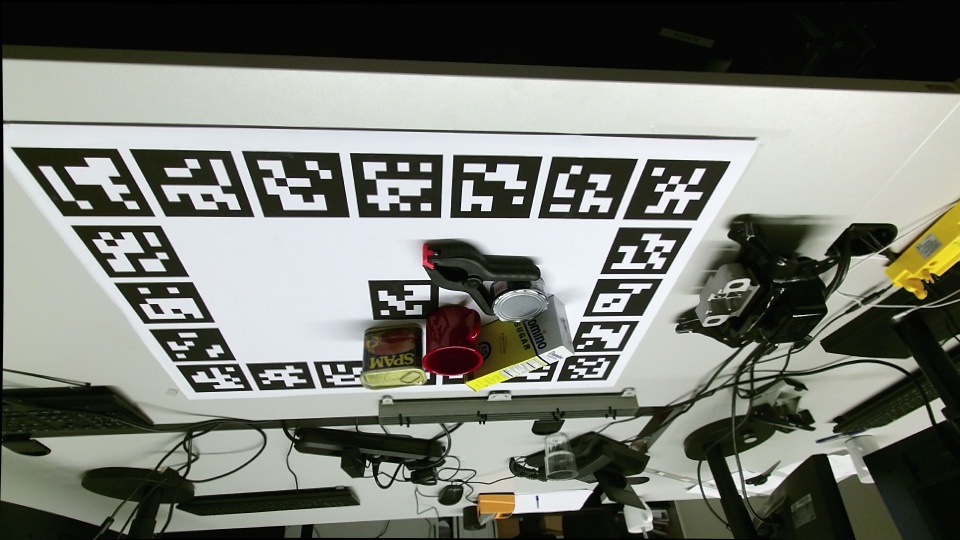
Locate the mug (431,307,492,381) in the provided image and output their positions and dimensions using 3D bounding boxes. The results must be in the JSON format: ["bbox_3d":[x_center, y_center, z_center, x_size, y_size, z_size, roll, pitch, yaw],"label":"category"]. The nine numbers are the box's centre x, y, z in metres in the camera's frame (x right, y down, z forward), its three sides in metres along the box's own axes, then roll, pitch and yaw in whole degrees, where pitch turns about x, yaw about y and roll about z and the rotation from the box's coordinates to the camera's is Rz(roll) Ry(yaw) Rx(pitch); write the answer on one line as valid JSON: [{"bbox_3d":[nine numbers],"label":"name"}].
[{"bbox_3d":[-0.025,0.103,0.809,0.094,0.081,0.117,18,132,-24],"label":"mug"}]

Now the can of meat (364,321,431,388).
[{"bbox_3d":[-0.129,0.132,0.842,0.102,0.083,0.058,-5,140,2],"label":"can of meat"}]

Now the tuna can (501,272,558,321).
[{"bbox_3d":[0.074,0.035,0.782,0.086,0.033,0.086,-3,137,-3],"label":"tuna can"}]

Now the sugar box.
[{"bbox_3d":[0.066,0.110,0.832,0.177,0.092,0.045,-26,137,24],"label":"sugar box"}]

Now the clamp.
[{"bbox_3d":[0.000,-0.005,0.736,0.166,0.036,0.122,29,133,-27],"label":"clamp"}]
